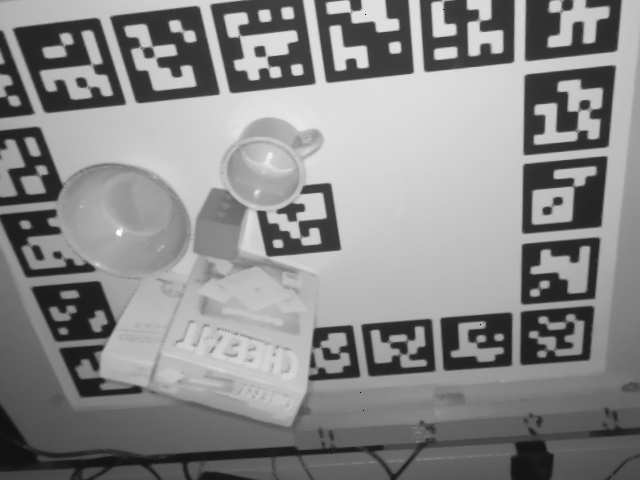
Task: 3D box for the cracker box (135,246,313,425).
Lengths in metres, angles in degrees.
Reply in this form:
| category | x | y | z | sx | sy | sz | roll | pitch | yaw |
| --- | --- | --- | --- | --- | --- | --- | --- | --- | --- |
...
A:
| category | x | y | z | sx | sy | sz | roll | pitch | yaw |
| --- | --- | --- | --- | --- | --- | --- | --- | --- | --- |
| cracker box | -0.103 | 0.096 | 0.828 | 0.165 | 0.216 | 0.071 | 21 | 122 | -8 |

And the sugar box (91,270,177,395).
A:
| category | x | y | z | sx | sy | sz | roll | pitch | yaw |
| --- | --- | --- | --- | --- | --- | --- | --- | --- | --- |
| sugar box | -0.210 | 0.108 | 0.860 | 0.093 | 0.178 | 0.045 | 14 | 121 | -5 |

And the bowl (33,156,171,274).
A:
| category | x | y | z | sx | sy | sz | roll | pitch | yaw |
| --- | --- | --- | --- | --- | --- | --- | --- | --- | --- |
| bowl | -0.254 | -0.040 | 0.835 | 0.162 | 0.055 | 0.160 | 1 | 119 | 2 |

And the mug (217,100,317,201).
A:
| category | x | y | z | sx | sy | sz | roll | pitch | yaw |
| --- | --- | --- | --- | --- | --- | --- | --- | --- | --- |
| mug | -0.060 | -0.107 | 0.780 | 0.117 | 0.082 | 0.093 | -14 | 127 | 9 |

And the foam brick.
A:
| category | x | y | z | sx | sy | sz | roll | pitch | yaw |
| --- | --- | --- | --- | --- | --- | --- | --- | --- | --- |
| foam brick | -0.128 | -0.026 | 0.842 | 0.053 | 0.079 | 0.051 | 8 | 121 | -2 |
